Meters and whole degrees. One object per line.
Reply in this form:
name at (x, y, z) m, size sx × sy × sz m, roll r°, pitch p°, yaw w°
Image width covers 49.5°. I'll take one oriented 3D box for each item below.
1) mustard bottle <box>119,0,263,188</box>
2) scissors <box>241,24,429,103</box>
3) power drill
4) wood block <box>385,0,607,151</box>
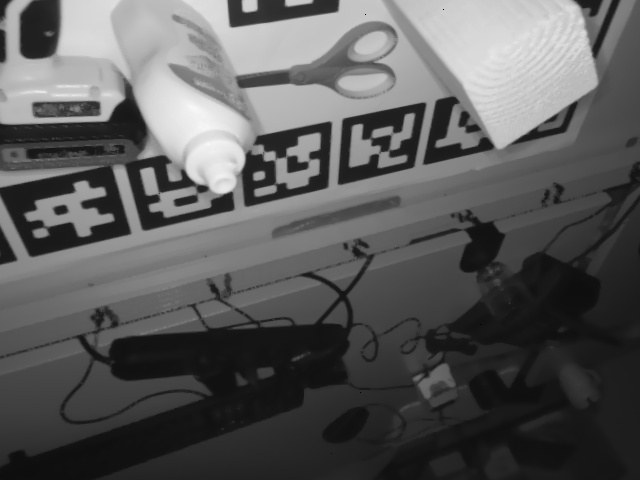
mustard bottle at (-0.090, -0.106, 0.519) m, size 0.058 × 0.191 × 0.097 m, roll -41°, pitch 138°, yaw 17°
scissors at (0.014, -0.154, 0.649) m, size 0.205 × 0.016 × 0.087 m, roll -13°, pitch 144°, yaw -16°
power drill at (-0.154, -0.170, 0.505) m, size 0.187 × 0.057 × 0.184 m, roll -5°, pitch 130°, yaw -25°
wood block at (0.120, -0.180, 0.544) m, size 0.090 × 0.206 × 0.090 m, roll -32°, pitch 140°, yaw 8°
